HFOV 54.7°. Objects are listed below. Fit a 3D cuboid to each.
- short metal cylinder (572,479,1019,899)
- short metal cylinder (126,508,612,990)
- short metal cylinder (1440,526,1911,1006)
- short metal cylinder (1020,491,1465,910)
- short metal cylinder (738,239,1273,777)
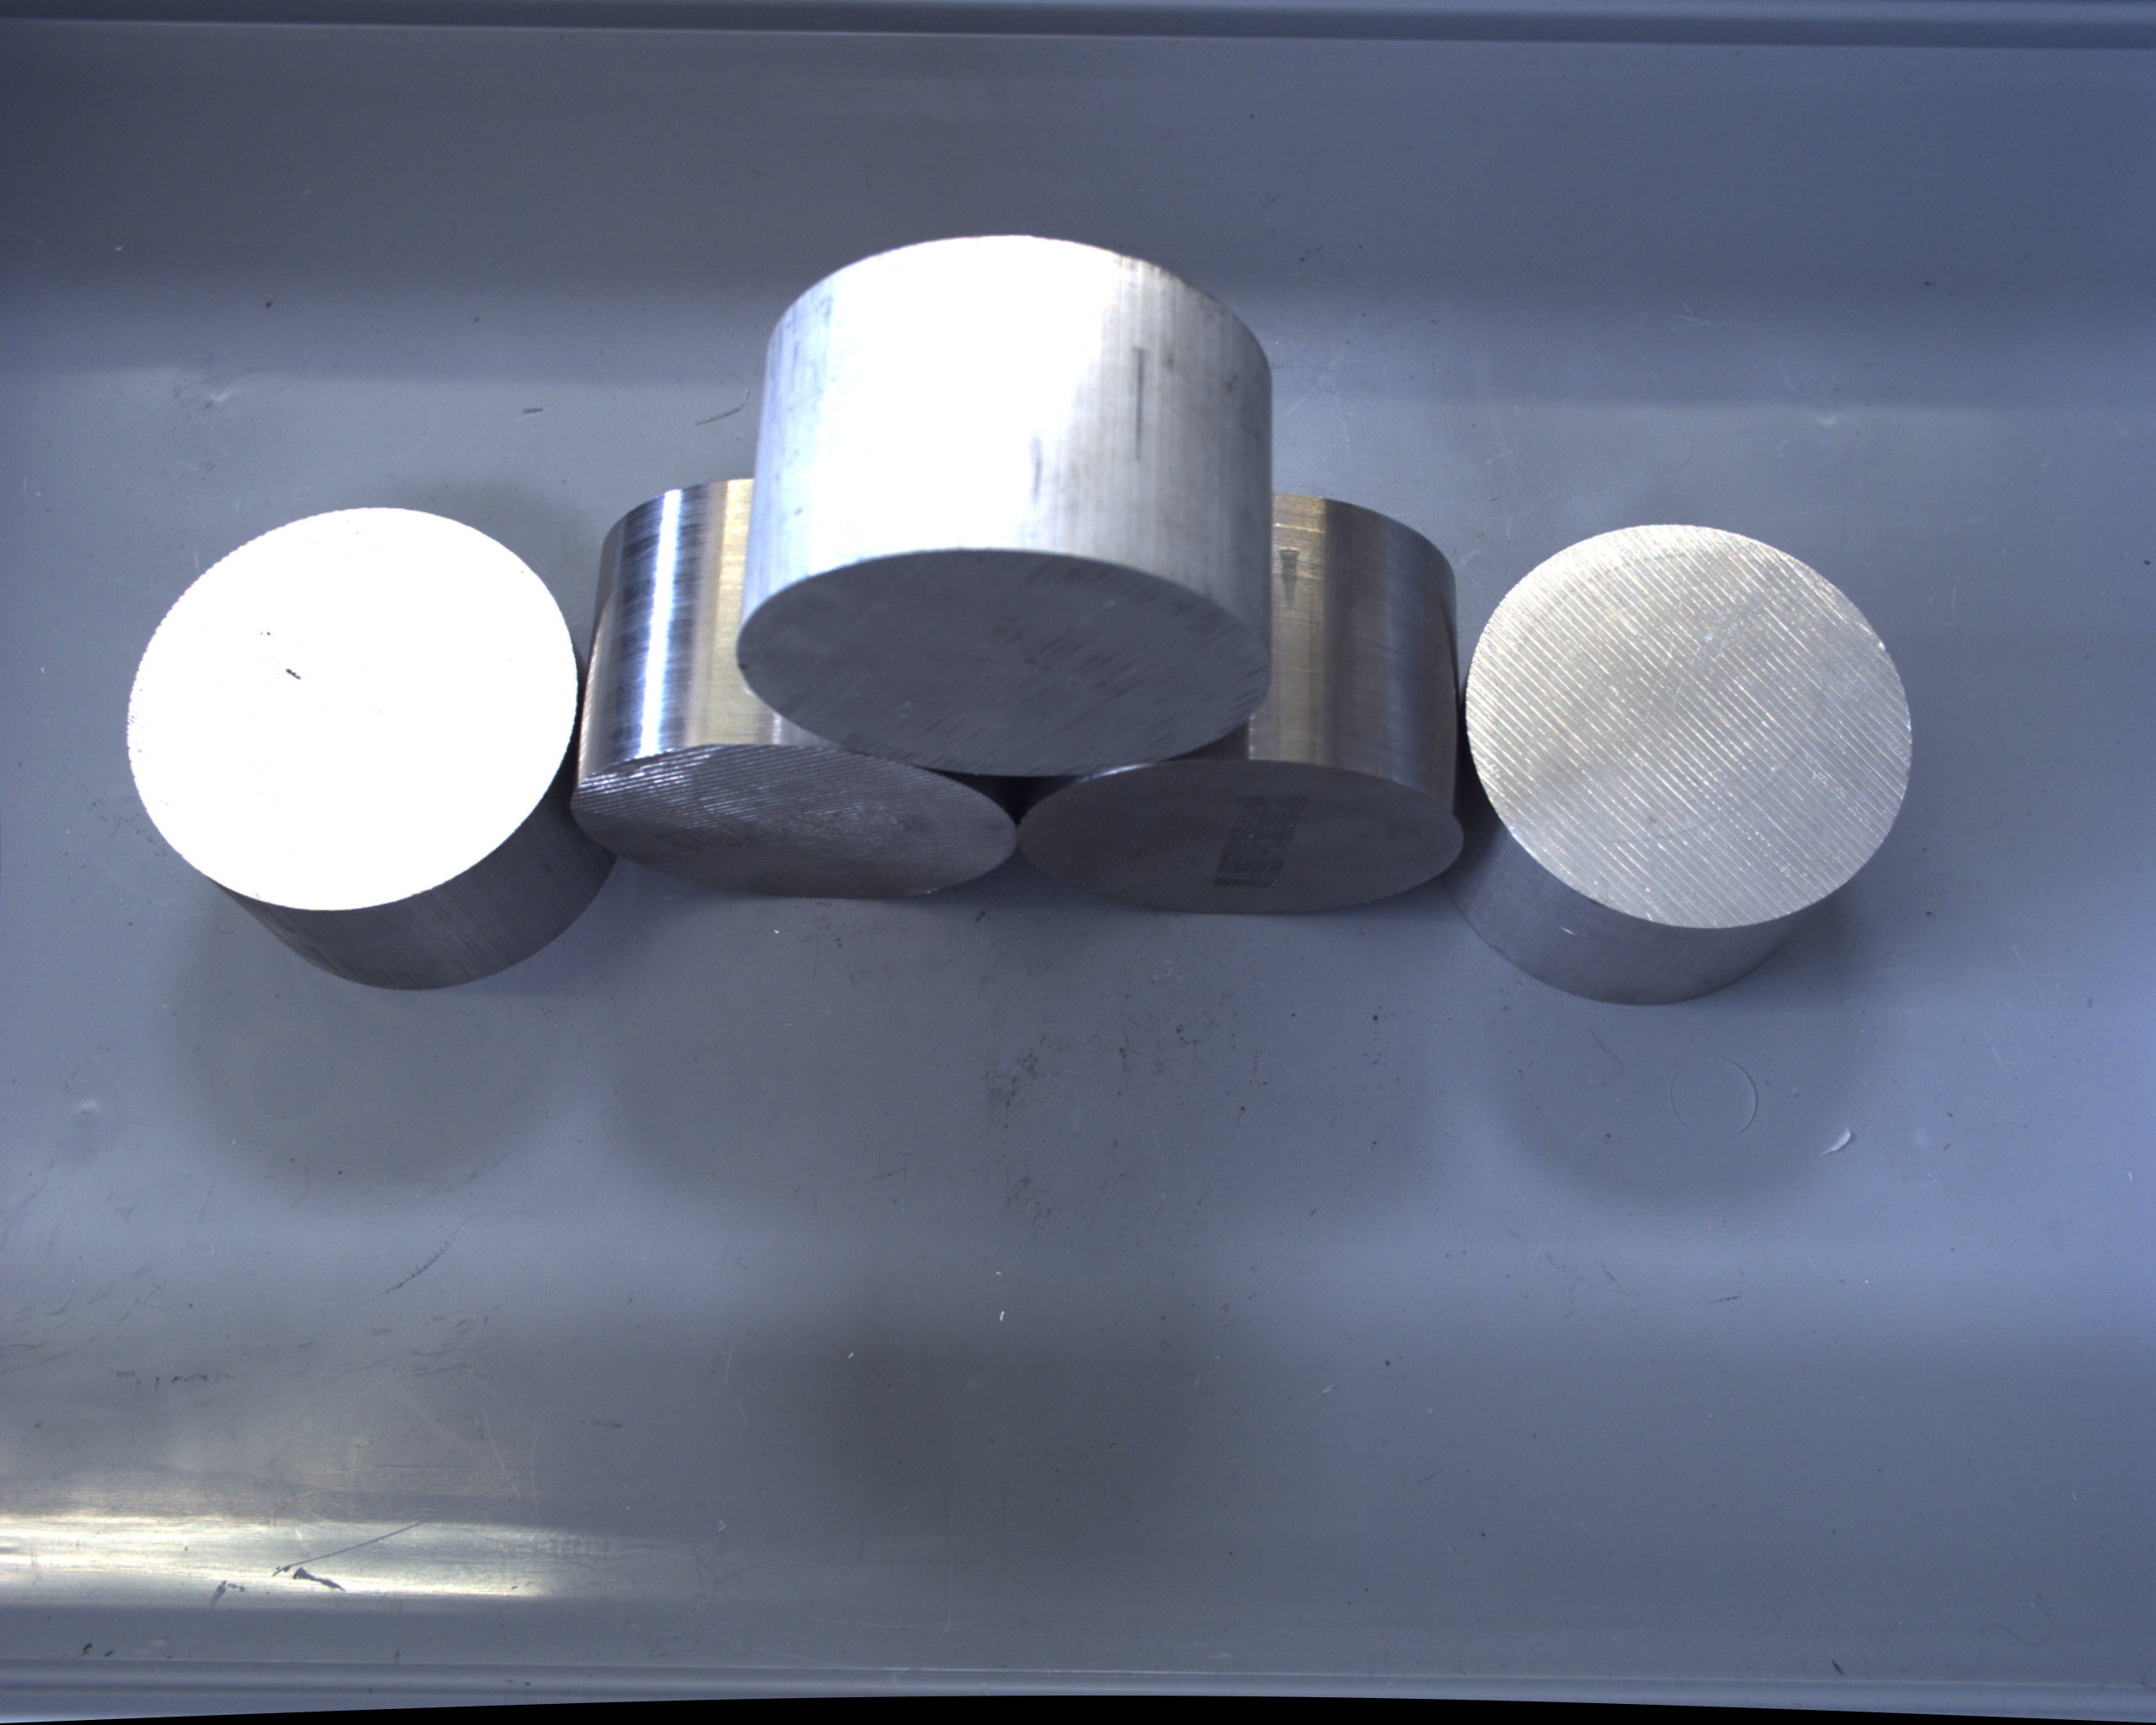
[{"bbox_3d":[-0.050,-0.030,0.389,0.080,0.080,0.050,2,70,0],"label":"short metal cylinder"},{"bbox_3d":[-0.131,-0.021,0.401,0.081,0.050,0.080,0,70,0],"label":"short metal cylinder"},{"bbox_3d":[0.111,-0.017,0.402,0.081,0.050,0.080,0,70,0],"label":"short metal cylinder"},{"bbox_3d":[0.030,-0.027,0.388,0.080,0.080,0.050,2,70,0],"label":"short metal cylinder"},{"bbox_3d":[-0.010,-0.051,0.324,0.080,0.080,0.050,2,70,0],"label":"short metal cylinder"}]
